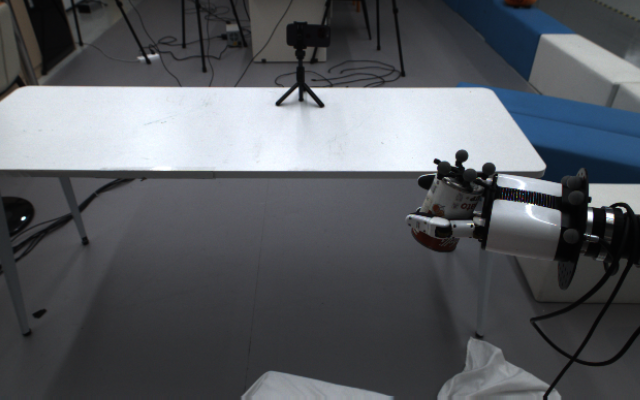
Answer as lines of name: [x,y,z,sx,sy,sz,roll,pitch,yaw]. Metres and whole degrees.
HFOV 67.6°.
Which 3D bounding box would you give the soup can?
soup can: [0.177,0.012,0.669,0.067,0.101,0.067,13,30,-8]
